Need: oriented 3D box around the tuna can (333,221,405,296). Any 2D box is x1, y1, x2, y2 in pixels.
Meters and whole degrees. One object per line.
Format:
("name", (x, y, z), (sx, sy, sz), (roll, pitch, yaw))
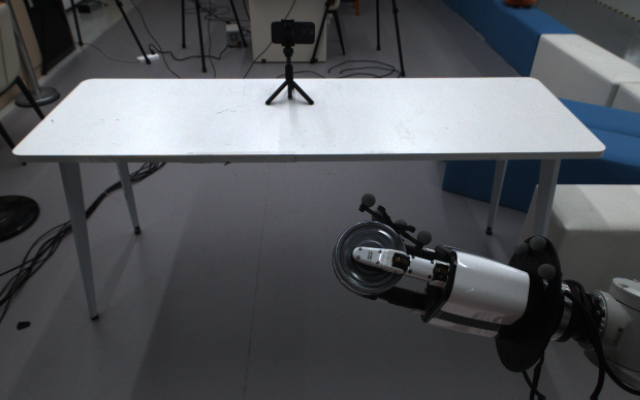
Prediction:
("tuna can", (0.062, 0.075, 0.565), (0.085, 0.034, 0.085), (0, 74, 0))
